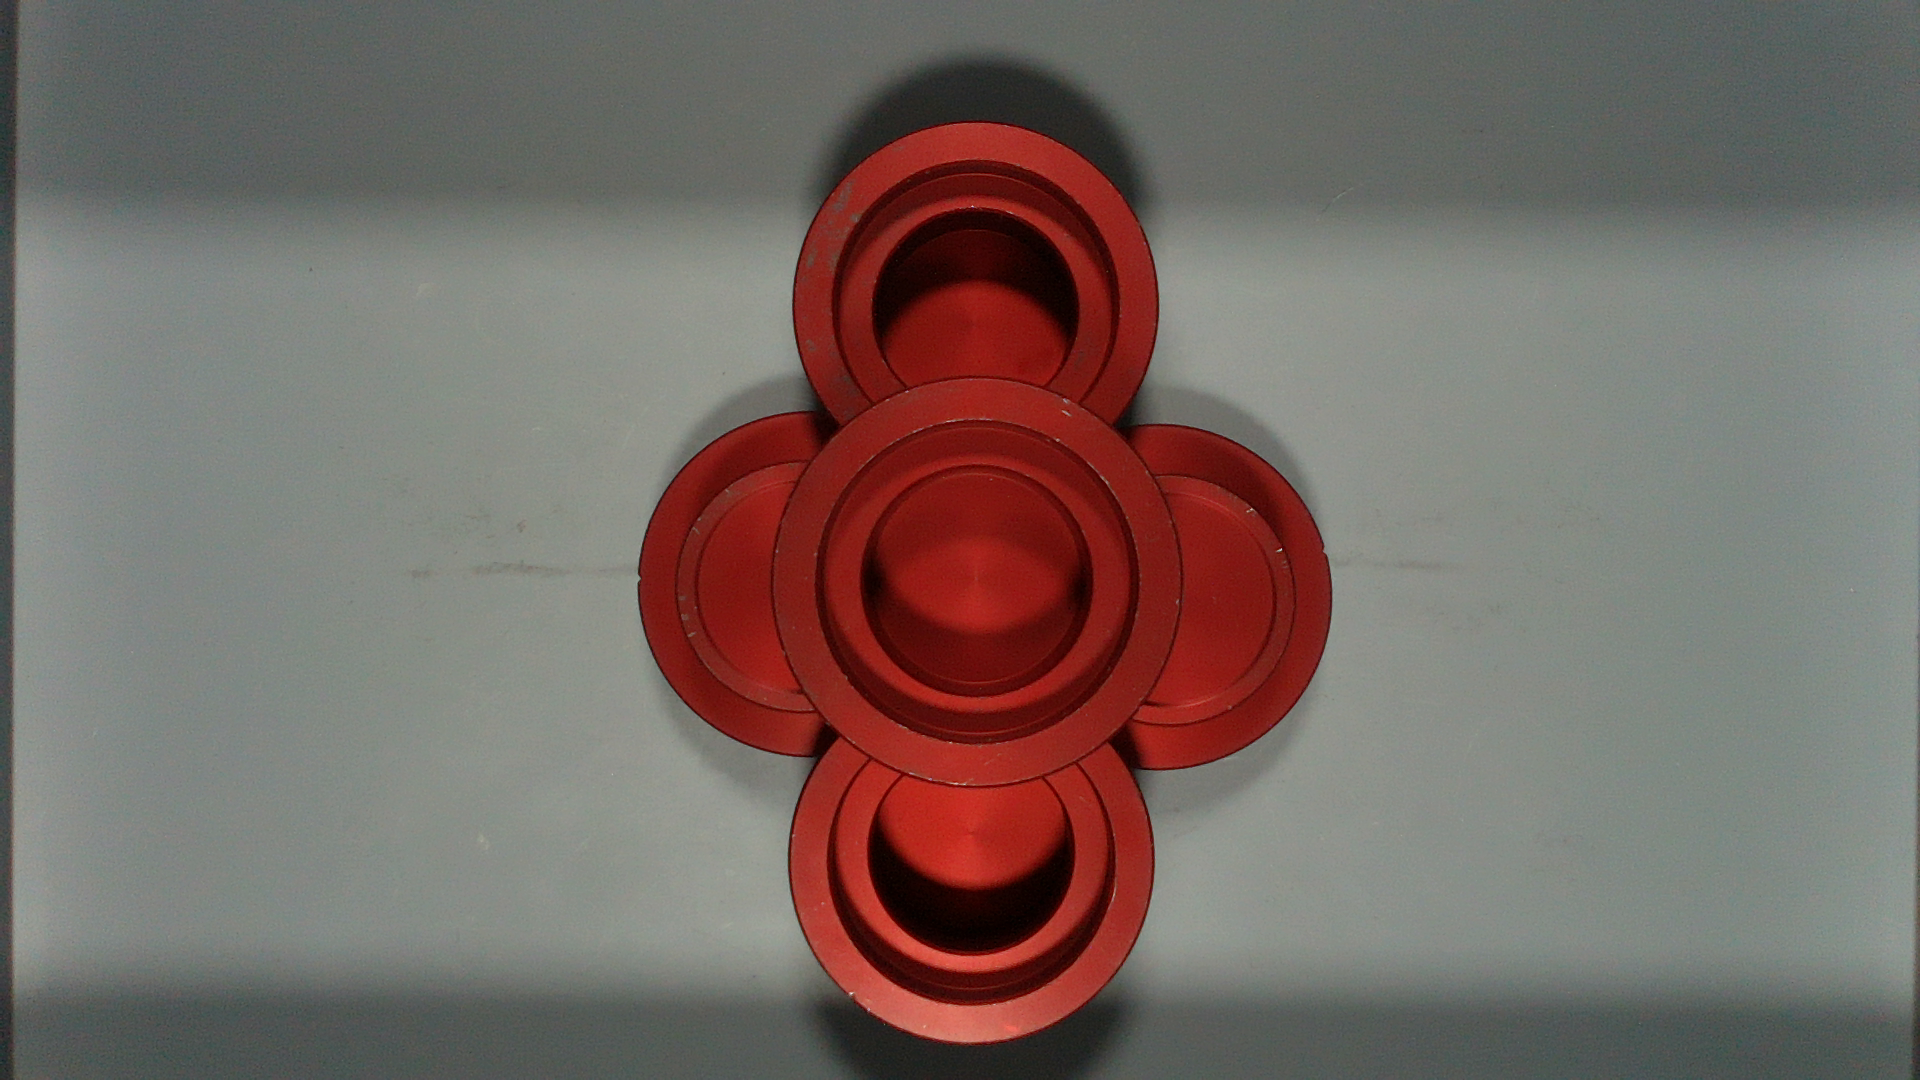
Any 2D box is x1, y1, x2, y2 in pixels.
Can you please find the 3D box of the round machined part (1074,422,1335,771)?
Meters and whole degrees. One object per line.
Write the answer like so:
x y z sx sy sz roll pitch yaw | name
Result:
0.056 0.016 0.385 0.098 0.042 0.098 0 90 0 | round machined part

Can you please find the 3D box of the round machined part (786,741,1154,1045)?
0.003 0.085 0.386 0.098 0.042 0.098 0 90 0 | round machined part

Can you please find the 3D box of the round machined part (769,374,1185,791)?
0.004 0.010 0.343 0.098 0.042 0.098 0 90 0 | round machined part

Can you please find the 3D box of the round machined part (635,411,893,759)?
-0.042 0.013 0.385 0.098 0.042 0.098 0 90 0 | round machined part

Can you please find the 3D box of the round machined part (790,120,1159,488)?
0.004 -0.062 0.385 0.098 0.042 0.098 0 90 0 | round machined part
